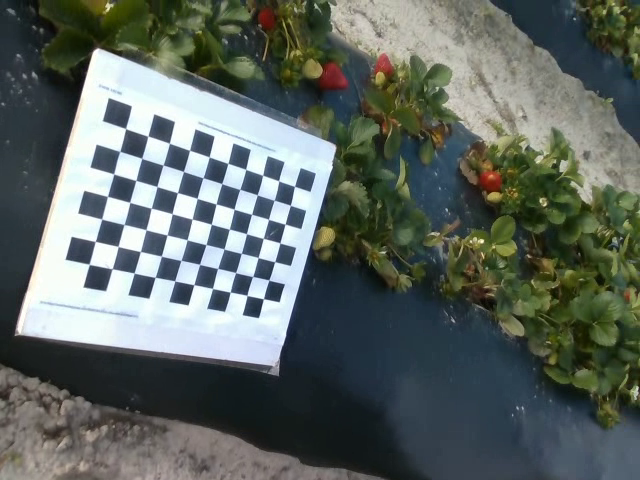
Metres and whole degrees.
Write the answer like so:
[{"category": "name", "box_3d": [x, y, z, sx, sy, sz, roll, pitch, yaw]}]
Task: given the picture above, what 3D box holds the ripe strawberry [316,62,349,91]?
[{"category": "ripe strawberry", "box_3d": [0.025, -0.269, 1.040, 0.055, 0.051, 0.048, 36, -19, 24]}]
